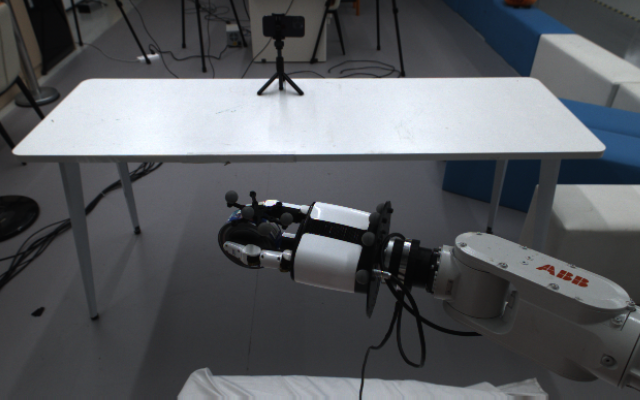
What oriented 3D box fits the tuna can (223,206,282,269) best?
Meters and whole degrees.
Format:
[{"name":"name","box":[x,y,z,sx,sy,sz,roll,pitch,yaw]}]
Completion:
[{"name":"tuna can","box":[-0.096,0.056,0.684,0.085,0.085,0.034,9,35,10]}]
